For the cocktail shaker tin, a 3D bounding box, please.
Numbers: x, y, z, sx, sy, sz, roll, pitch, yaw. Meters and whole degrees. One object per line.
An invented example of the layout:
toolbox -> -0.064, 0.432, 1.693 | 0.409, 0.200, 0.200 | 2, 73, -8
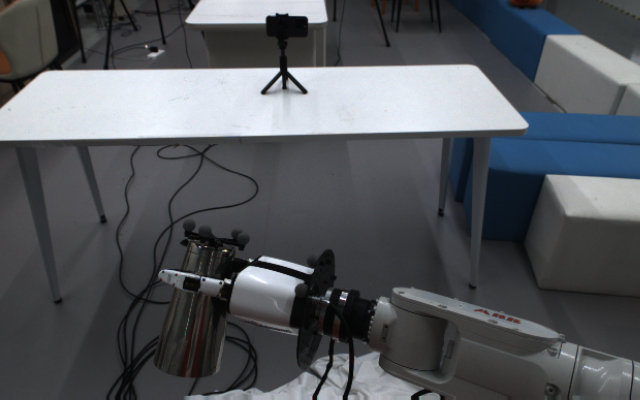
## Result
cocktail shaker tin -> -0.164, 0.144, 0.674 | 0.093, 0.170, 0.093 | 12, 1, 0
